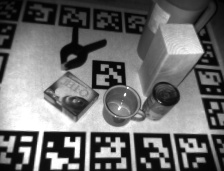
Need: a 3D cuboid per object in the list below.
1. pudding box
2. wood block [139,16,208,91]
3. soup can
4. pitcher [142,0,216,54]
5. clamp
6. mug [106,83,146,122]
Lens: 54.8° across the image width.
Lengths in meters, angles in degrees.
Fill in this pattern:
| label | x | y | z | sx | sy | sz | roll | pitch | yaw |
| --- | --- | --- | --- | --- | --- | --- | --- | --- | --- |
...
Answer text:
| label | x | y | z | sx | sy | sz | roll | pitch | yaw |
| --- | --- | --- | --- | --- | --- | --- | --- | --- | --- |
| pudding box | -0.106 | 0.017 | 0.579 | 0.113 | 0.039 | 0.090 | 34 | 64 | 10 |
| wood block | 0.152 | -0.073 | 0.576 | 0.090 | 0.206 | 0.090 | 0 | 61 | -13 |
| soup can | 0.132 | 0.030 | 0.575 | 0.068 | 0.102 | 0.067 | 4 | 63 | -7 |
| pitcher | 0.173 | -0.186 | 0.625 | 0.189 | 0.243 | 0.132 | -1 | 59 | -7 |
| clamp | -0.093 | -0.120 | 0.664 | 0.122 | 0.036 | 0.165 | 31 | 61 | -1 |
| mug | 0.039 | 0.051 | 0.560 | 0.116 | 0.081 | 0.093 | 32 | 58 | 10 |
